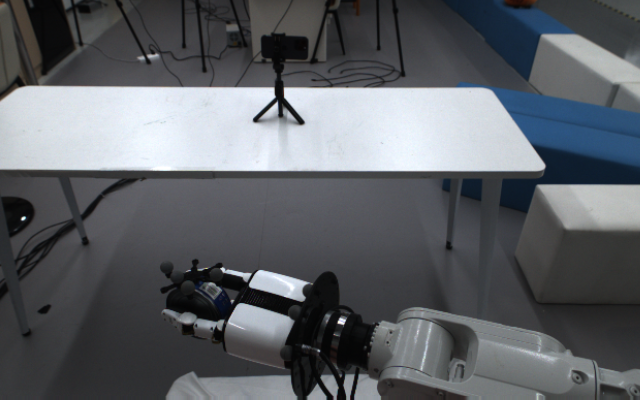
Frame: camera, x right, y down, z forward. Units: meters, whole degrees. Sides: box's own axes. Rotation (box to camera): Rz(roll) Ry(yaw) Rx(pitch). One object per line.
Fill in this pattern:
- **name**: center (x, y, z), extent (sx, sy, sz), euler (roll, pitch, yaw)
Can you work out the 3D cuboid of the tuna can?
- **tuna can**: center (-0.163, 0.147, 0.662), extent (0.085, 0.085, 0.034), euler (14, 29, 17)
